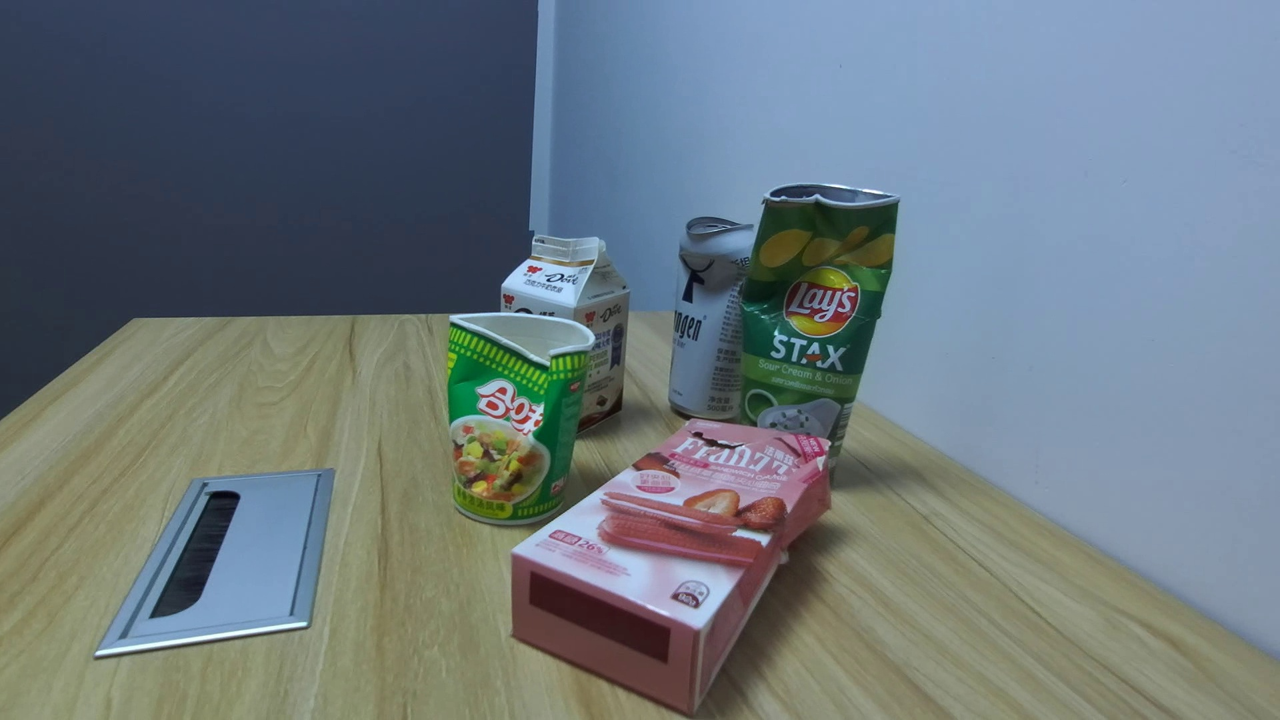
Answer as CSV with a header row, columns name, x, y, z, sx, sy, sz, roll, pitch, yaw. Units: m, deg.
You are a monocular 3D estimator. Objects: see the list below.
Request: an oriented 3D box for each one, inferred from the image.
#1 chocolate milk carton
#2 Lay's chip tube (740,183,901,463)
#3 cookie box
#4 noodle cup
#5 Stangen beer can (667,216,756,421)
name,x,y,z,sx,sy,sz,roll,pitch,yaw
chocolate milk carton,-0.058,-0.026,0.553,0.075,0.148,0.074,17,24,30
Lay's chip tube,0.110,-0.014,0.474,0.077,0.201,0.069,-3,19,-14
cookie box,0.026,0.093,0.374,0.104,0.059,0.186,11,23,29
noodle cup,-0.075,0.034,0.429,0.075,0.122,0.082,3,9,-27
Stangen beer can,0.060,-0.032,0.578,0.077,0.162,0.066,9,16,14
